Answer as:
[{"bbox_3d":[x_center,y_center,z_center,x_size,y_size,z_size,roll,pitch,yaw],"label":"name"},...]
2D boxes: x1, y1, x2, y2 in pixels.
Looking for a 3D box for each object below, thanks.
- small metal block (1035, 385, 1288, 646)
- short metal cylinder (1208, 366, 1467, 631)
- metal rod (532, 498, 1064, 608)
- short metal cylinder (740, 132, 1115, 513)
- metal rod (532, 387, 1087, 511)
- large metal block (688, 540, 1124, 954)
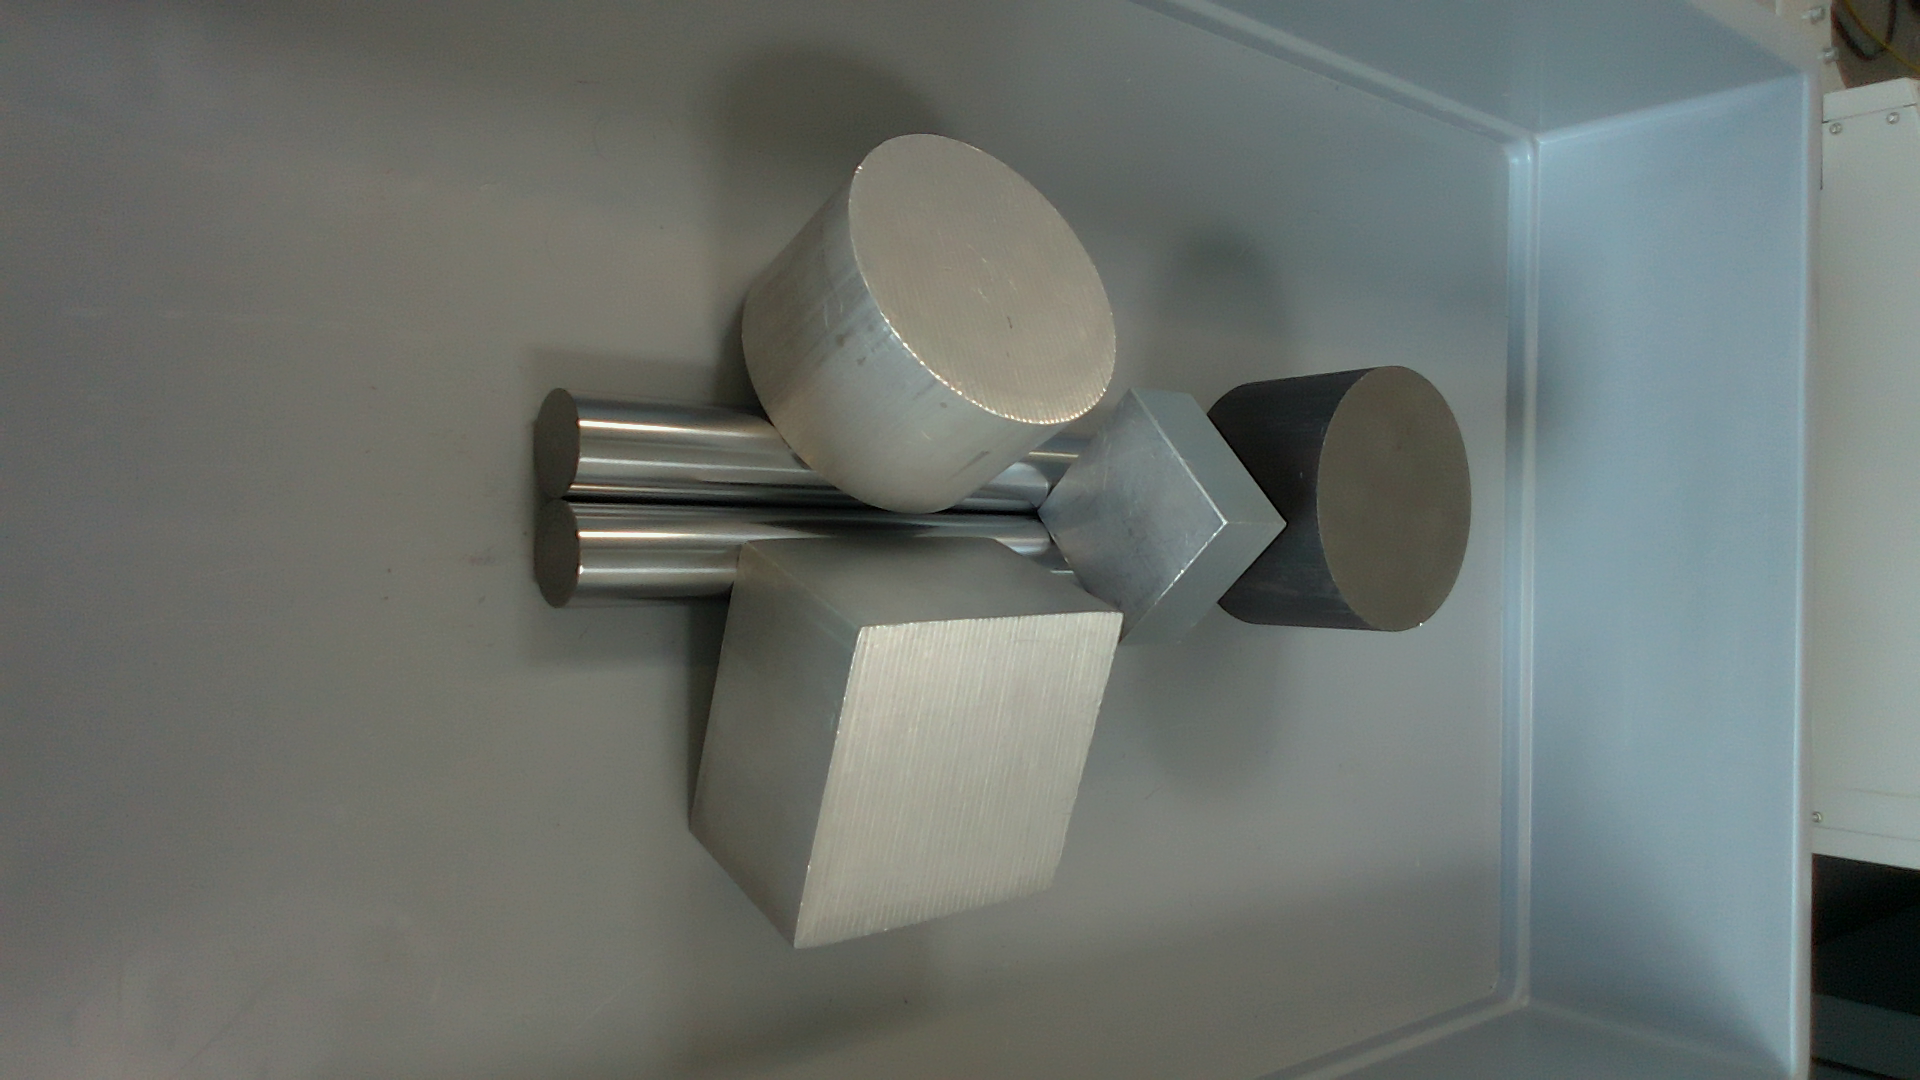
[{"bbox_3d":[0.054,-0.006,0.379,0.025,0.050,0.050,1,47,-40],"label":"small metal block"},{"bbox_3d":[0.116,-0.013,0.436,0.080,0.050,0.080,0,90,-40],"label":"short metal cylinder"},{"bbox_3d":[0.024,0.005,0.408,0.301,0.025,0.025,1,90,-40],"label":"metal rod"},{"bbox_3d":[-0.008,-0.054,0.346,0.080,0.050,0.080,20,54,-31],"label":"short metal cylinder"},{"bbox_3d":[0.024,-0.020,0.408,0.301,0.025,0.025,1,90,-40],"label":"metal rod"},{"bbox_3d":[-0.014,0.046,0.342,0.080,0.050,0.080,-1,111,-40],"label":"large metal block"}]
